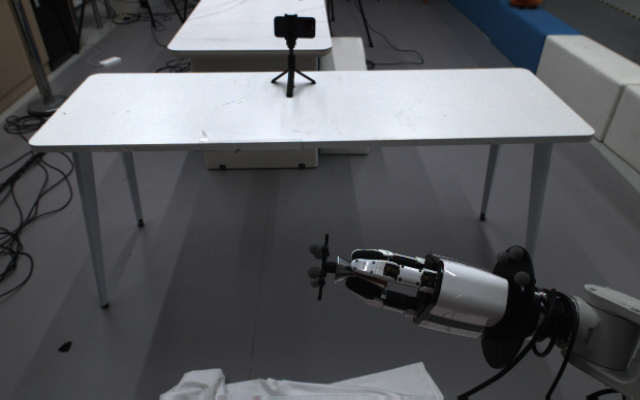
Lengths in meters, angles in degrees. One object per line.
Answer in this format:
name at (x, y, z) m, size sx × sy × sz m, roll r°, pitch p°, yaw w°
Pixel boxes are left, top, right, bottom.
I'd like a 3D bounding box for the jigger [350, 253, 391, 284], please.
jigger at (0.063, 0.090, 0.647) m, size 0.071 × 0.043 × 0.043 m, roll 5°, pitch 35°, yaw 3°
